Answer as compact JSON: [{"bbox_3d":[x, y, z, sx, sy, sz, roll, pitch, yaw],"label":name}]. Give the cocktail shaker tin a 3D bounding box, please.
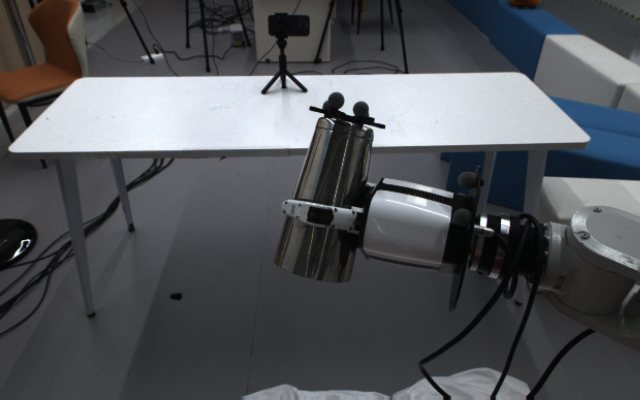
[{"bbox_3d":[0.012,-0.002,0.553,0.093,0.170,0.093,13,4,-1],"label":"cocktail shaker tin"}]
